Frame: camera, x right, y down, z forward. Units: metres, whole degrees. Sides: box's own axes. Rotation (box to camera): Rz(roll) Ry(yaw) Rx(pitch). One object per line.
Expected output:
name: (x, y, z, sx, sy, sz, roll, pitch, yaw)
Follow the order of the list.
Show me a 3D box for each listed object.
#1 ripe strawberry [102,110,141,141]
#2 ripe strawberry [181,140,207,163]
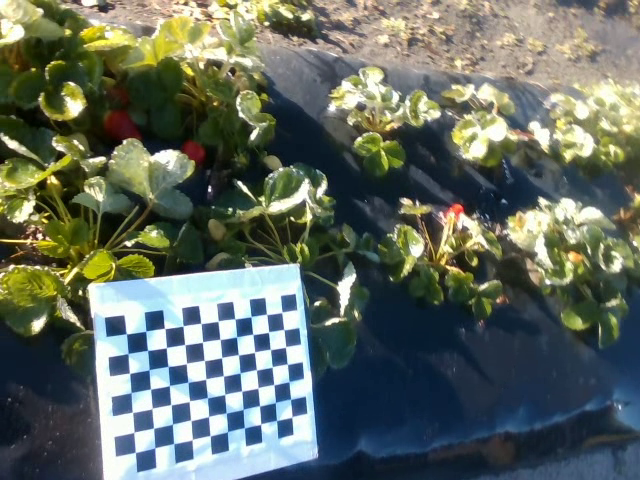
ripe strawberry: (-0.262, -0.150, 0.882, 0.040, 0.056, 0.044, -21, 27, 55)
ripe strawberry: (-0.179, -0.117, 0.911, 0.039, 0.047, 0.040, 37, -40, -21)
